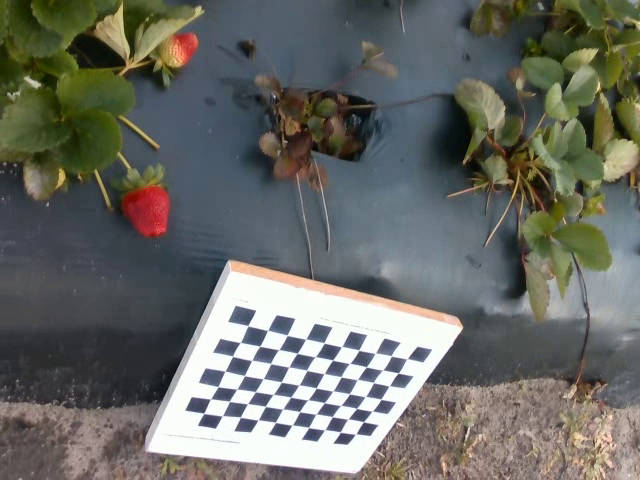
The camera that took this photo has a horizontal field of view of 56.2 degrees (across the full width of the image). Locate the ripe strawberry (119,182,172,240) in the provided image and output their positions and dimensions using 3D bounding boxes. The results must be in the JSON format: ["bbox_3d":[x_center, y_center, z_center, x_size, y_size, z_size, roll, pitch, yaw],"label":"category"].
[{"bbox_3d":[-0.157,-0.024,0.532,0.045,0.054,0.042,-25,-28,7],"label":"ripe strawberry"}]
